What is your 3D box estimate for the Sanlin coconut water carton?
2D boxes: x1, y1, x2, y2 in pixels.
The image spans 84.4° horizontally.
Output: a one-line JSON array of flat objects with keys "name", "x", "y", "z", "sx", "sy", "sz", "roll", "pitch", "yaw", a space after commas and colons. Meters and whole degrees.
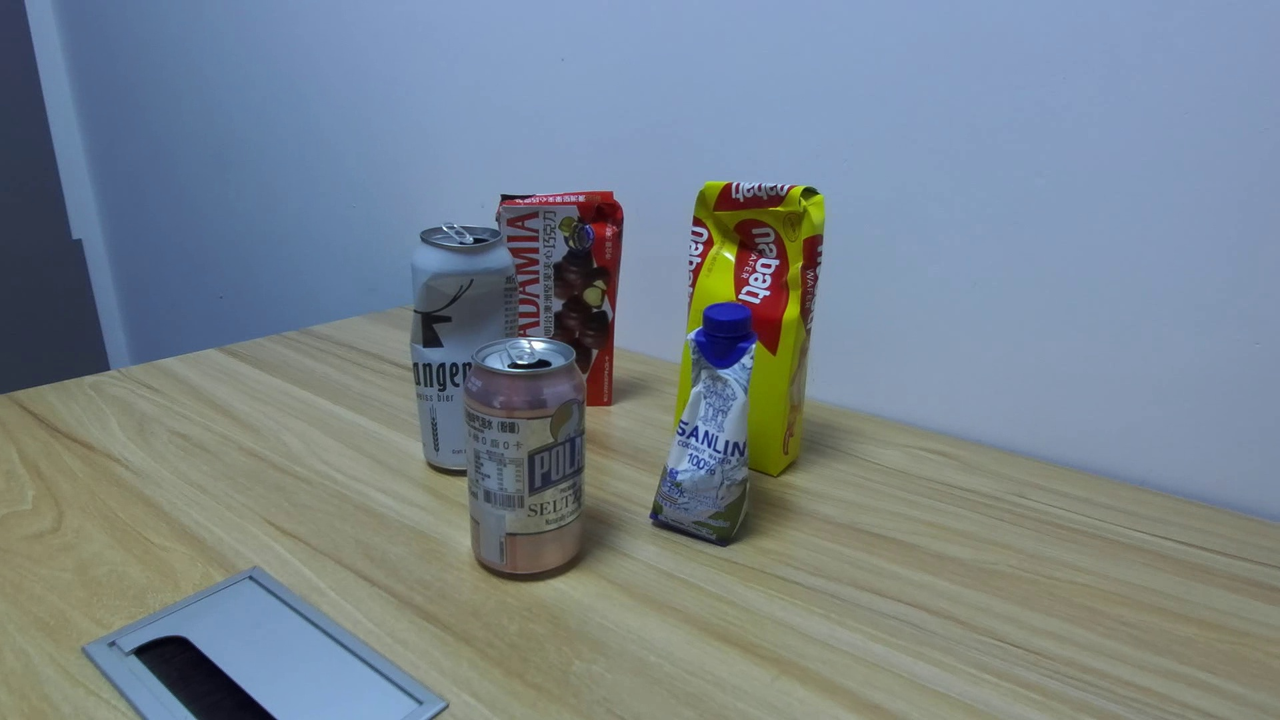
[{"name": "Sanlin coconut water carton", "x": 0.052, "y": 0.036, "z": 0.438, "sx": 0.056, "sy": 0.144, "sz": 0.068, "roll": 16, "pitch": 14, "yaw": 17}]

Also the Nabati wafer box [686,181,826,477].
[{"name": "Nabati wafer box", "x": 0.077, "y": -0.023, "z": 0.515, "sx": 0.113, "sy": 0.205, "sz": 0.043, "roll": 15, "pitch": 21, "yaw": 34}]

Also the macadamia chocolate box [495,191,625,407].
[{"name": "macadamia chocolate box", "x": -0.066, "y": -0.048, "z": 0.599, "sx": 0.103, "sy": 0.187, "sz": 0.027, "roll": 0, "pitch": 23, "yaw": -3}]

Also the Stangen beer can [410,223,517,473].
[{"name": "Stangen beer can", "x": -0.124, "y": -0.007, "z": 0.501, "sx": 0.070, "sy": 0.173, "sz": 0.070, "roll": 16, "pitch": 26, "yaw": 28}]

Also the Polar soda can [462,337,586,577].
[{"name": "Polar soda can", "x": -0.064, "y": 0.054, "z": 0.400, "sx": 0.067, "sy": 0.125, "sz": 0.067, "roll": 2, "pitch": 19, "yaw": 0}]
